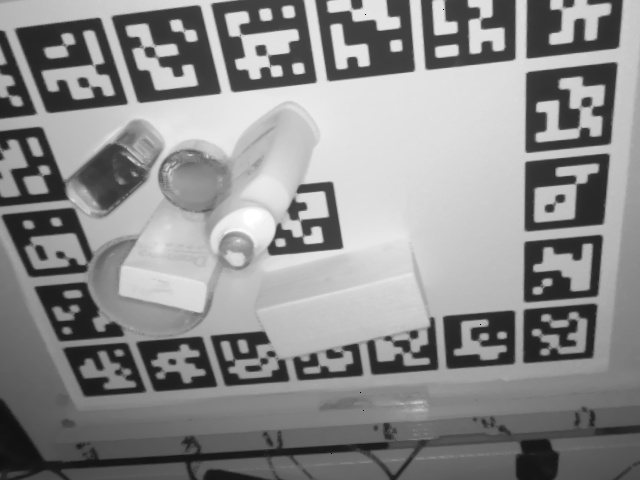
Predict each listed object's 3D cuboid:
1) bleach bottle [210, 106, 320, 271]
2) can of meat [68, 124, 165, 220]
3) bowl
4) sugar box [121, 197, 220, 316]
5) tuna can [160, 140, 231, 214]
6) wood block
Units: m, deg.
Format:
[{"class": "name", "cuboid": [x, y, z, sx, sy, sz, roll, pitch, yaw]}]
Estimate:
[{"class": "bleach bottle", "cuboid": [-0.057, -0.053, 0.726, 0.101, 0.253, 0.068, -29, 116, 18]}, {"class": "can of meat", "cuboid": [-0.235, -0.082, 0.817, 0.100, 0.084, 0.058, -33, 116, 21]}, {"class": "bowl", "cuboid": [-0.228, 0.059, 0.910, 0.162, 0.055, 0.160, -1, 120, -1]}, {"class": "sugar box", "cuboid": [-0.164, 0.014, 0.808, 0.093, 0.177, 0.045, 12, 118, -7]}, {"class": "tuna can", "cuboid": [-0.146, -0.077, 0.838, 0.086, 0.034, 0.085, 1, 117, 2]}, {"class": "wood block", "cuboid": [0.034, 0.082, 0.896, 0.205, 0.090, 0.090, -13, 114, 11]}]
